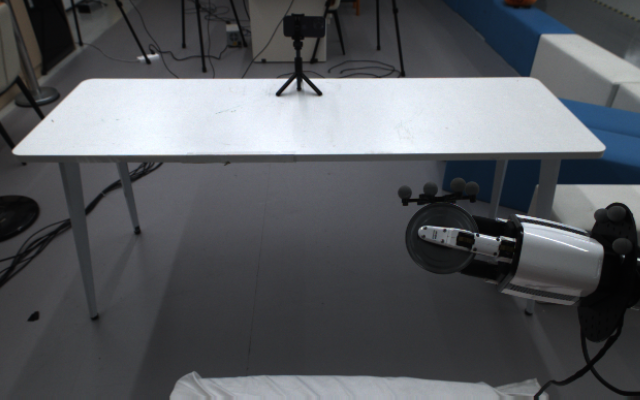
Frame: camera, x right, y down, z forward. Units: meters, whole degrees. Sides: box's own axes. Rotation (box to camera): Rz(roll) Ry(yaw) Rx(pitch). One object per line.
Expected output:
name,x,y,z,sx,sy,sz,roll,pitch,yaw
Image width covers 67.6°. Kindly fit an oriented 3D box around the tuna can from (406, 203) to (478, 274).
tuna can,0.149,0.044,0.585,0.085,0.085,0.034,11,-7,12
